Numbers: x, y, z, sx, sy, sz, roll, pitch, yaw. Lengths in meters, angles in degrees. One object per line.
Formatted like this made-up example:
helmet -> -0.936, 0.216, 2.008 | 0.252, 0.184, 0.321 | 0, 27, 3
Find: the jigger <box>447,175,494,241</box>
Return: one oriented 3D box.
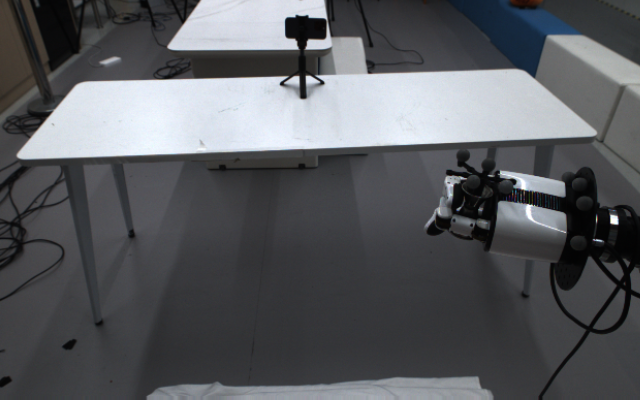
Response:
jigger -> 0.200, 0.013, 0.645 | 0.043, 0.071, 0.043 | 7, 32, -4
